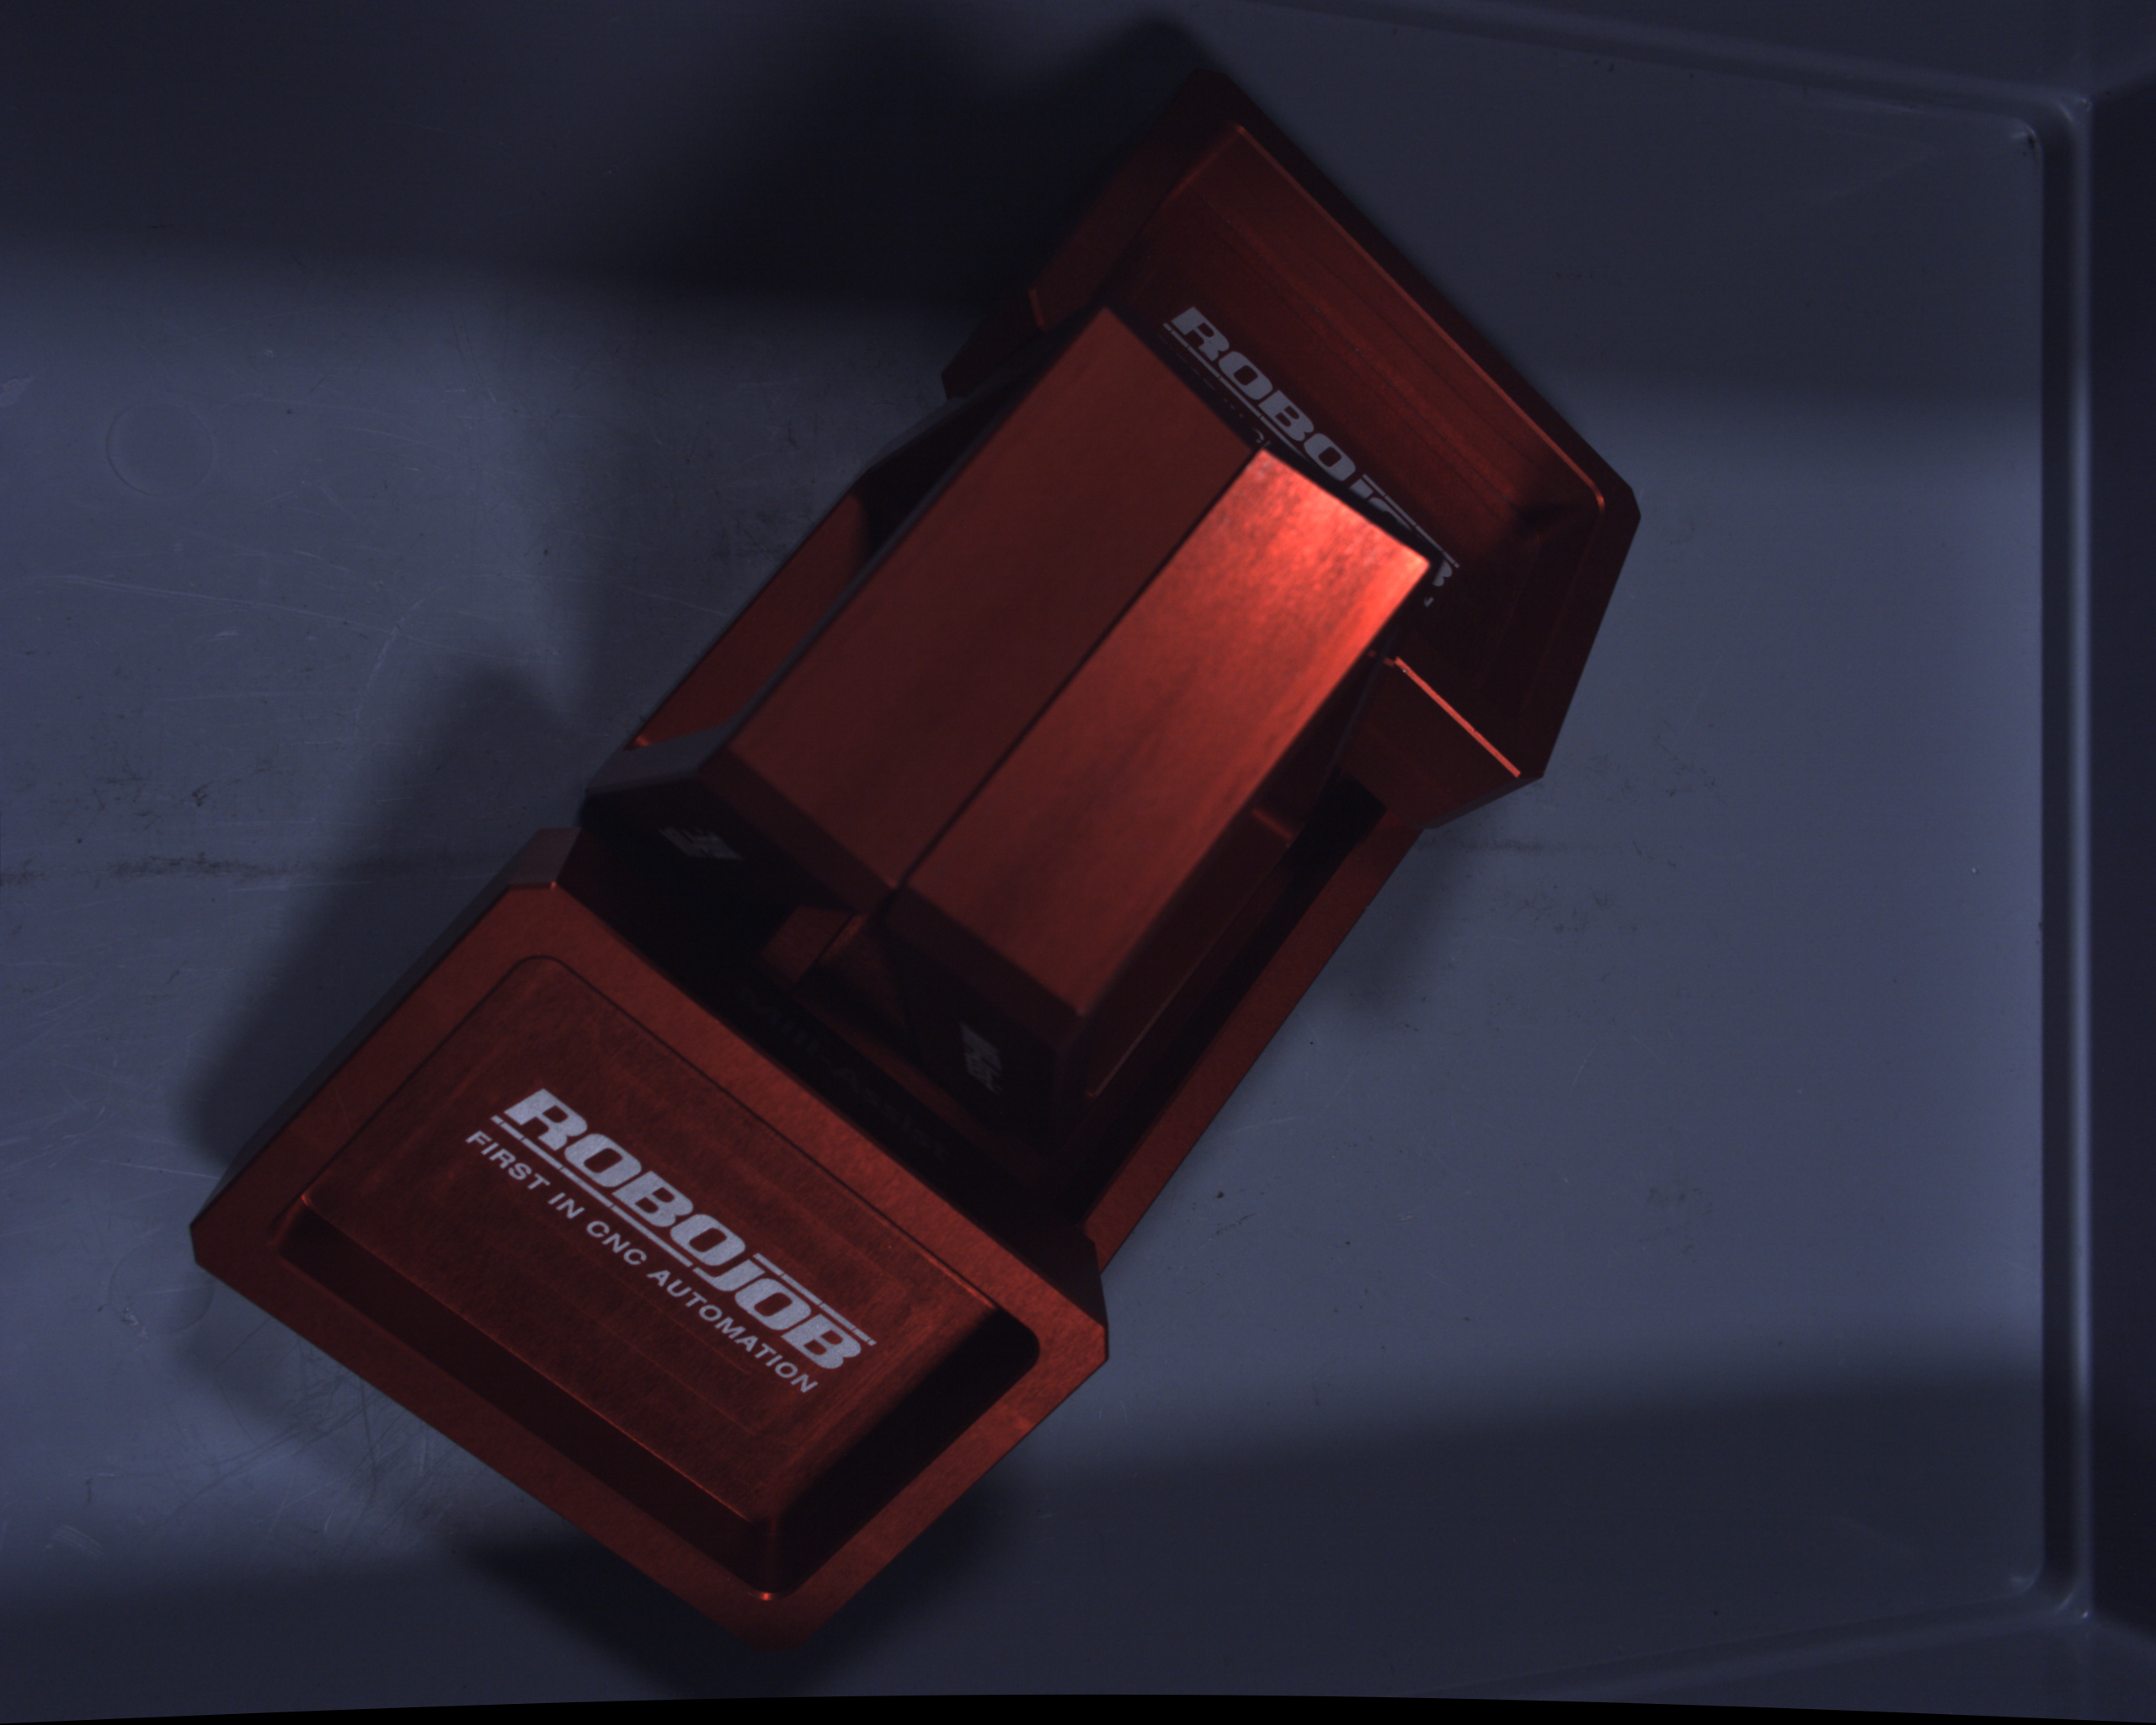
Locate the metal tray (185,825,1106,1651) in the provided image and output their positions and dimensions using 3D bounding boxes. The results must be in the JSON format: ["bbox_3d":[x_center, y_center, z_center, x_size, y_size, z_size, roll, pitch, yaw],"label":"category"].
[{"bbox_3d":[-0.071,0.067,0.362,0.130,0.030,0.090,42,101,-16],"label":"metal tray"}]

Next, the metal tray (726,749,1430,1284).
[{"bbox_3d":[0.001,0.006,0.407,0.090,0.030,0.130,41,77,-16],"label":"metal tray"}]

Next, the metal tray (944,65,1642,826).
[{"bbox_3d":[0.047,-0.081,0.406,0.130,0.030,0.090,41,52,-16],"label":"metal tray"}]

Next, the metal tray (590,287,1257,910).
[{"bbox_3d":[-0.032,-0.037,0.341,0.030,0.130,0.090,42,77,-15],"label":"metal tray"}]

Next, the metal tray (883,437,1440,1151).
[{"bbox_3d":[0.011,-0.003,0.345,0.030,0.130,0.090,37,77,7],"label":"metal tray"}]
